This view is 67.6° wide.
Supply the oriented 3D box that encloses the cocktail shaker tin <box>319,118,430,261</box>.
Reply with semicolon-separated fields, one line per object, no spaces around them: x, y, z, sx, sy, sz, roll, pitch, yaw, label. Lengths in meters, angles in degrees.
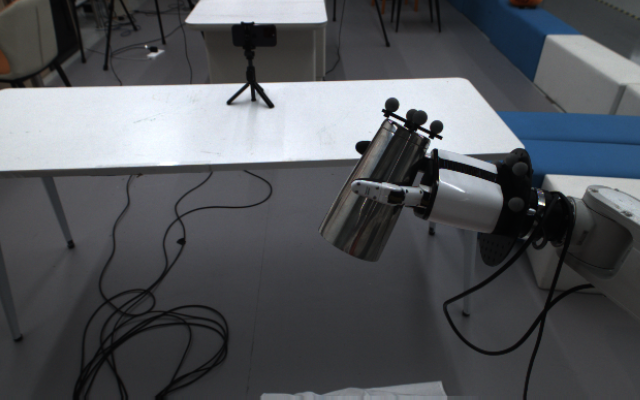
0.078;-0.019;0.636;0.093;0.170;0.093;24;13;-6;cocktail shaker tin
